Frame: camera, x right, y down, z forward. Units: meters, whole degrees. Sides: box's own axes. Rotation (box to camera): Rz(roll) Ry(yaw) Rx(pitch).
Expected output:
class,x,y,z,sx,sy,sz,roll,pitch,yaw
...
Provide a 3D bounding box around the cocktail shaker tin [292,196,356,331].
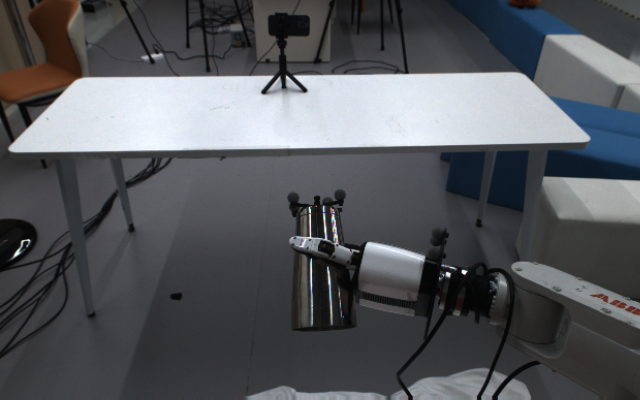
class,x,y,z,sx,sy,sz,roll,pitch,yaw
cocktail shaker tin,0.000,0.098,0.696,0.093,0.093,0.170,-2,70,-5
